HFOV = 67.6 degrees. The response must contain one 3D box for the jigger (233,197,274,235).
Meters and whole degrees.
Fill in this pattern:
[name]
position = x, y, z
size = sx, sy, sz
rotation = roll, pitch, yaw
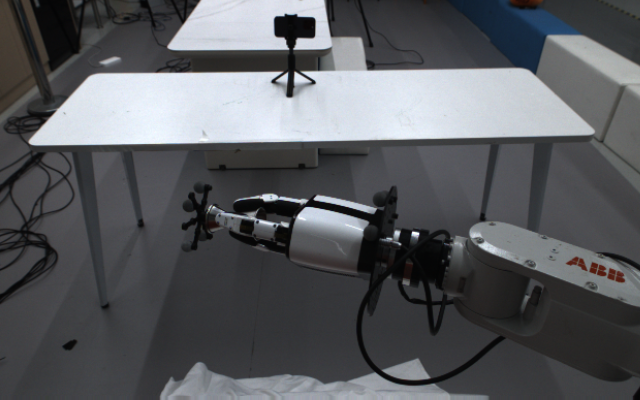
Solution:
[jigger]
position = -0.103, 0.025, 0.630
size = 0.071, 0.043, 0.043
rotation = 6, 35, 14
